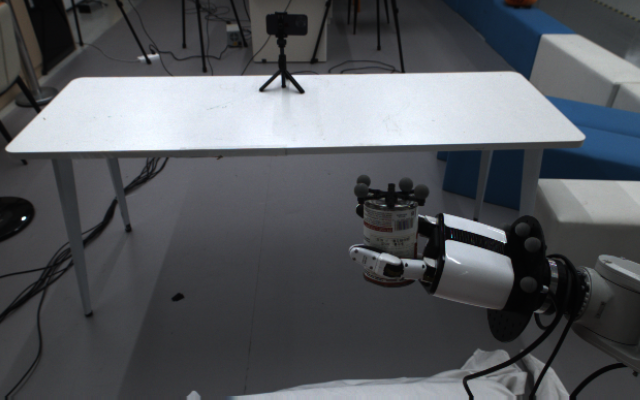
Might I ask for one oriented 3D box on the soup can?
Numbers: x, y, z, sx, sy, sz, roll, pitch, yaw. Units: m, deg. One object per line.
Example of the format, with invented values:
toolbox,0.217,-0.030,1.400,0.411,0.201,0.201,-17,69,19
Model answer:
soup can,0.089,0.047,0.594,0.067,0.101,0.067,-1,17,0
